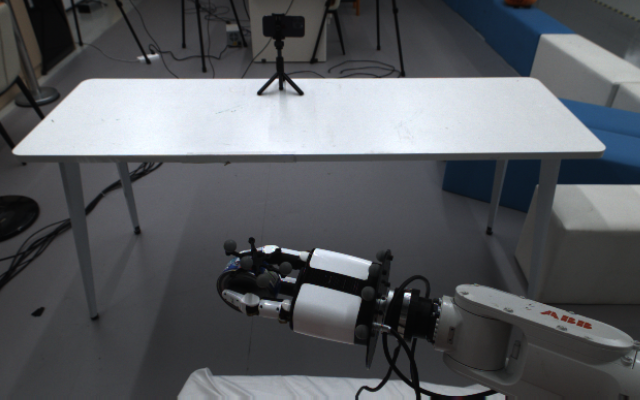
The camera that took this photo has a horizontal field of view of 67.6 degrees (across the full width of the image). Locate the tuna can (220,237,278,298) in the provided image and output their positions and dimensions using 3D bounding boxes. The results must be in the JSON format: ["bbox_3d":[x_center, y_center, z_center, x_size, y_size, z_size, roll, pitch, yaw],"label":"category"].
[{"bbox_3d":[-0.097,0.121,0.678,0.085,0.085,0.034,9,35,10],"label":"tuna can"}]
